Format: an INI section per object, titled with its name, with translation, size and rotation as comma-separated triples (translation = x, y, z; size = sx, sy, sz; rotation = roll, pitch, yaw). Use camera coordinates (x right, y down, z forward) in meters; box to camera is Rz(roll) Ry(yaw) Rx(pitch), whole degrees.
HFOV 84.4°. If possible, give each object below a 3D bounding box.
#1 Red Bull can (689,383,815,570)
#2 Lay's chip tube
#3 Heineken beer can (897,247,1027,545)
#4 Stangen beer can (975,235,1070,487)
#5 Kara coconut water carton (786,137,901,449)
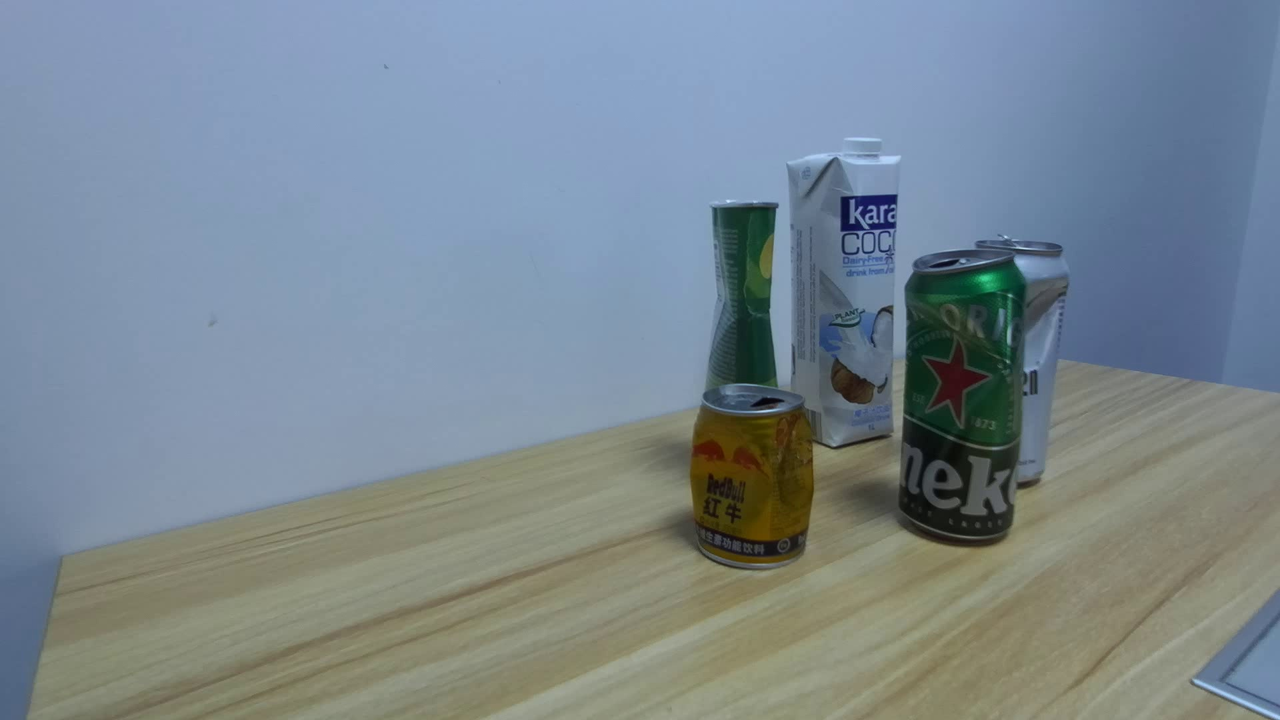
[Red Bull can]
translation = 0.066, 0.065, 0.411
size = 0.072, 0.092, 0.072
rotation = -1, 13, 1
[Lay's chip tube]
translation = 0.070, -0.007, 0.489
size = 0.069, 0.199, 0.074
rotation = -12, 16, -41
[Heineken beer can]
translation = 0.191, 0.023, 0.423
size = 0.069, 0.168, 0.068
rotation = 2, 13, 29
[Stangen beer can]
translation = 0.262, 0.002, 0.504
size = 0.070, 0.173, 0.070
rotation = 4, 16, 18
[Kara coconut water carton]
translation = 0.167, -0.055, 0.586
size = 0.077, 0.245, 0.075
rotation = -8, 12, -24
